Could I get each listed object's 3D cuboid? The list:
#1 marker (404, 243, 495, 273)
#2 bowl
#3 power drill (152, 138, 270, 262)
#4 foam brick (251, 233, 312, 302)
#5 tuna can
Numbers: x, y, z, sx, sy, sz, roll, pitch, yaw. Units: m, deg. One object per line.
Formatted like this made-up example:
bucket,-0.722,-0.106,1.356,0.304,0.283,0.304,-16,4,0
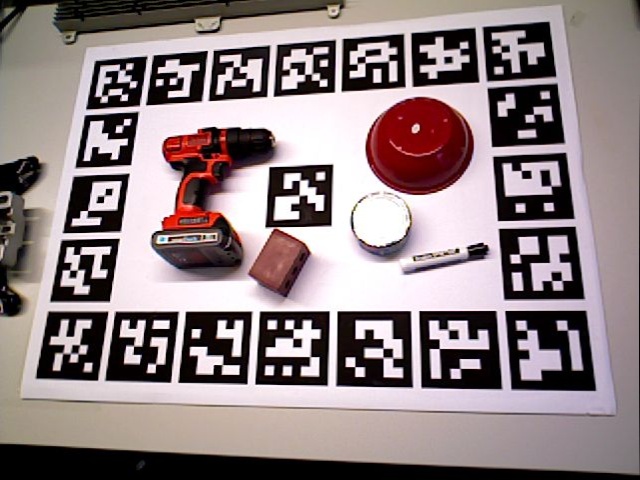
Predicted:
marker,0.175,0.024,0.732,0.121,0.020,0.019,-12,72,6
bowl,0.140,-0.148,0.787,0.162,0.056,0.160,-6,64,11
power drill,-0.167,-0.064,0.807,0.184,0.058,0.185,-2,69,5
foam brick,-0.053,0.039,0.759,0.051,0.053,0.077,22,78,14
tuna can,0.090,-0.024,0.756,0.086,0.034,0.085,-3,72,7
